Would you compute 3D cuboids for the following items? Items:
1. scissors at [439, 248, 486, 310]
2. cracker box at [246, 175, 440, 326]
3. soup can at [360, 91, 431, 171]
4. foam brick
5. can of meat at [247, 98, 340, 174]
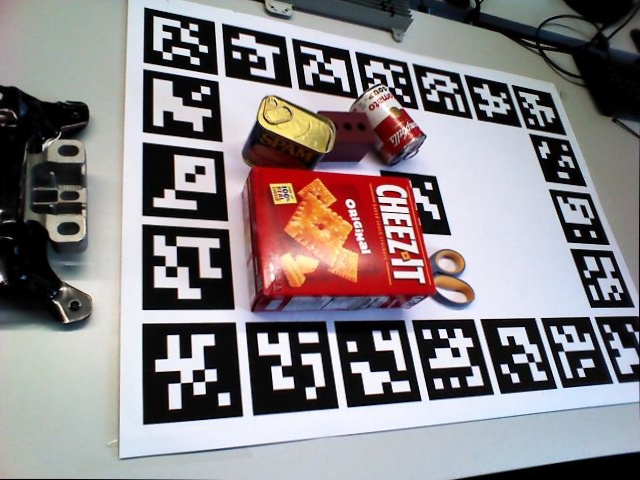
[{"bbox_3d":[0.129,0.056,0.682,0.202,0.016,0.087,-2,69,-24],"label":"scissors"},{"bbox_3d":[0.031,0.006,0.625,0.213,0.072,0.163,-4,68,-21],"label":"cracker box"},{"bbox_3d":[0.114,-0.162,0.768,0.102,0.068,0.067,46,57,8],"label":"soup can"},{"bbox_3d":[0.041,-0.140,0.727,0.078,0.052,0.052,-8,71,-27],"label":"foam brick"},{"bbox_3d":[-0.036,-0.123,0.663,0.102,0.084,0.057,16,62,-17],"label":"can of meat"}]
